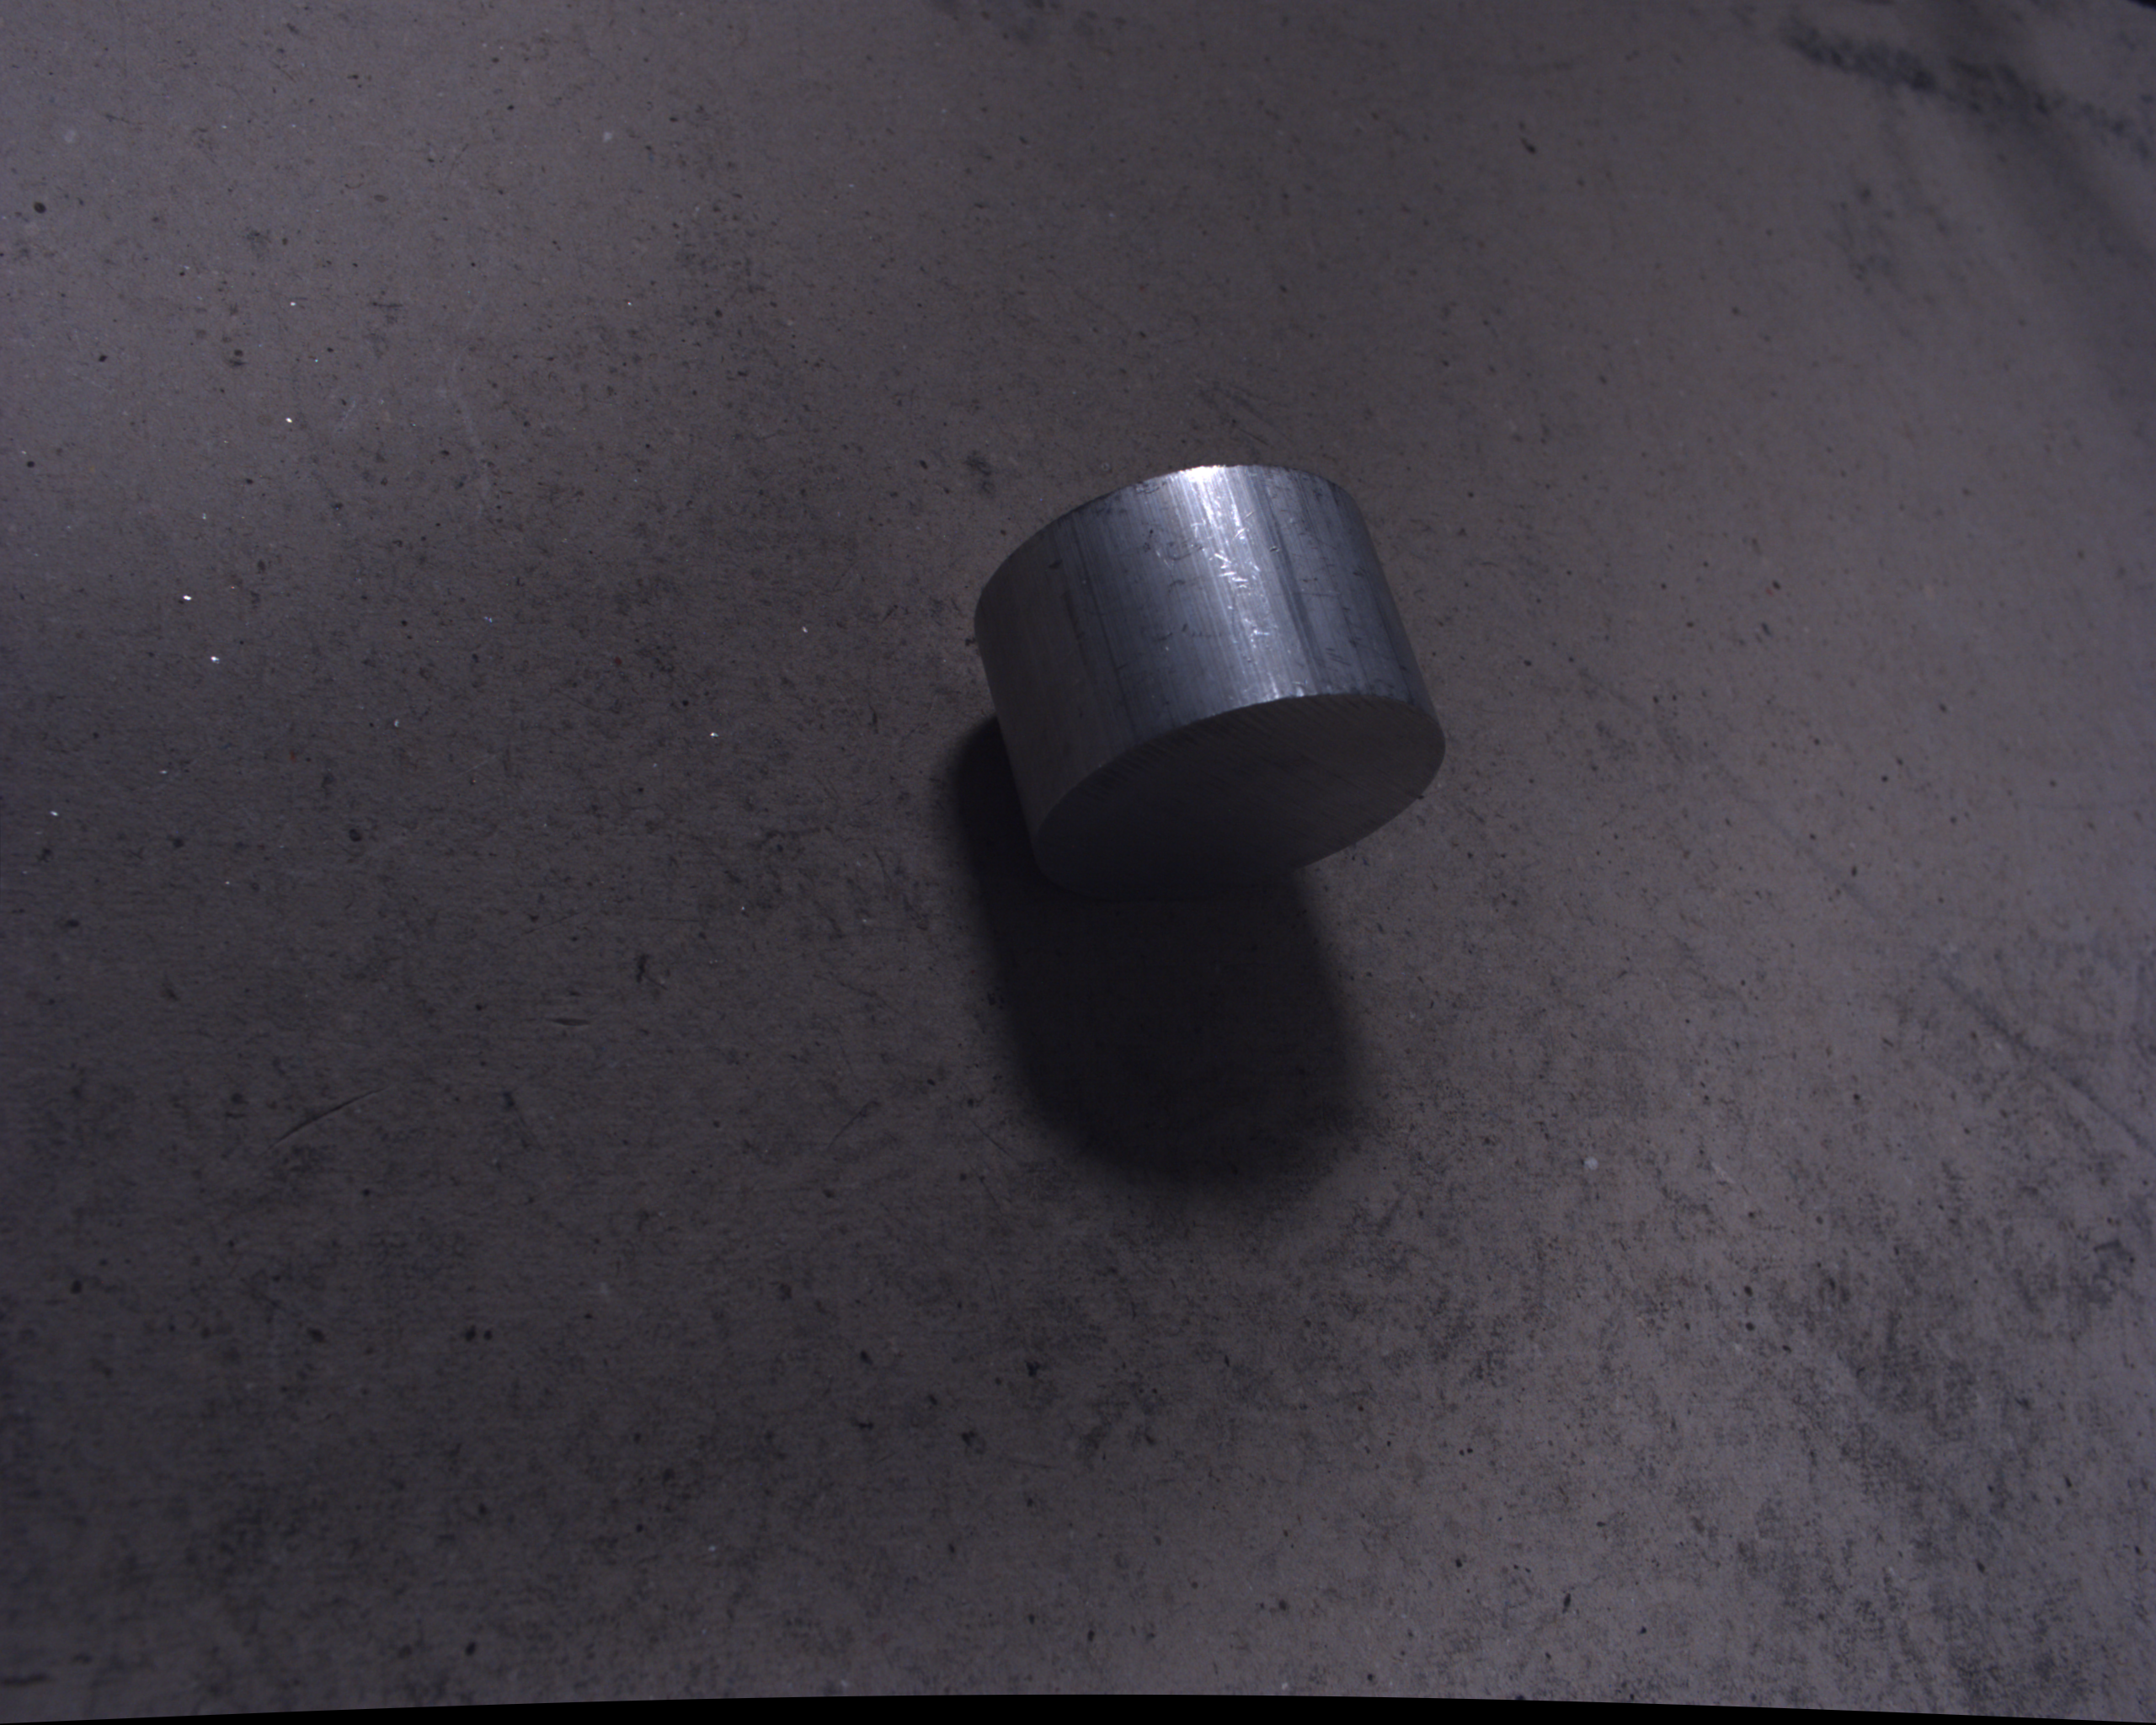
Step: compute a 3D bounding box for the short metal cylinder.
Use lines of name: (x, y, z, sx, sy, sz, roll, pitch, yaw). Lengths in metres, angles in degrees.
short metal cylinder: (0.025, -0.033, 0.405, 0.081, 0.080, 0.050, -1, 63, -29)
